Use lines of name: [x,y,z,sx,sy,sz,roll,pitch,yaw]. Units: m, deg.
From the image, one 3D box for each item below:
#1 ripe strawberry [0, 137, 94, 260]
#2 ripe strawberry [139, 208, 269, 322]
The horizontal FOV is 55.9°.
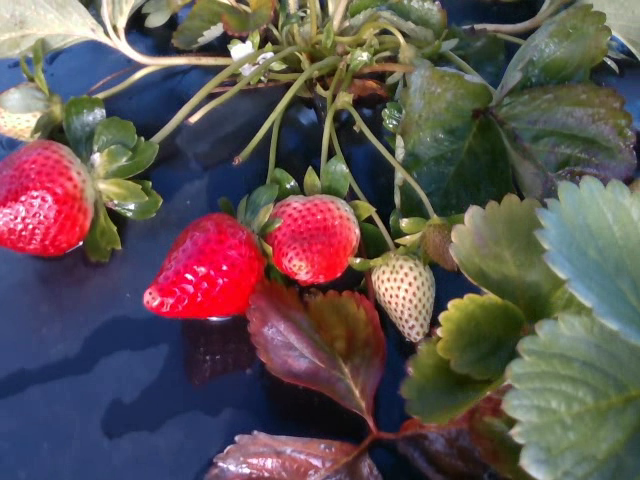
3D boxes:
ripe strawberry: [-0.123,-0.018,0.241,0.065,0.050,0.050,-16,24,-40]
ripe strawberry: [-0.046,0.013,0.218,0.044,0.042,0.055,-11,11,37]
